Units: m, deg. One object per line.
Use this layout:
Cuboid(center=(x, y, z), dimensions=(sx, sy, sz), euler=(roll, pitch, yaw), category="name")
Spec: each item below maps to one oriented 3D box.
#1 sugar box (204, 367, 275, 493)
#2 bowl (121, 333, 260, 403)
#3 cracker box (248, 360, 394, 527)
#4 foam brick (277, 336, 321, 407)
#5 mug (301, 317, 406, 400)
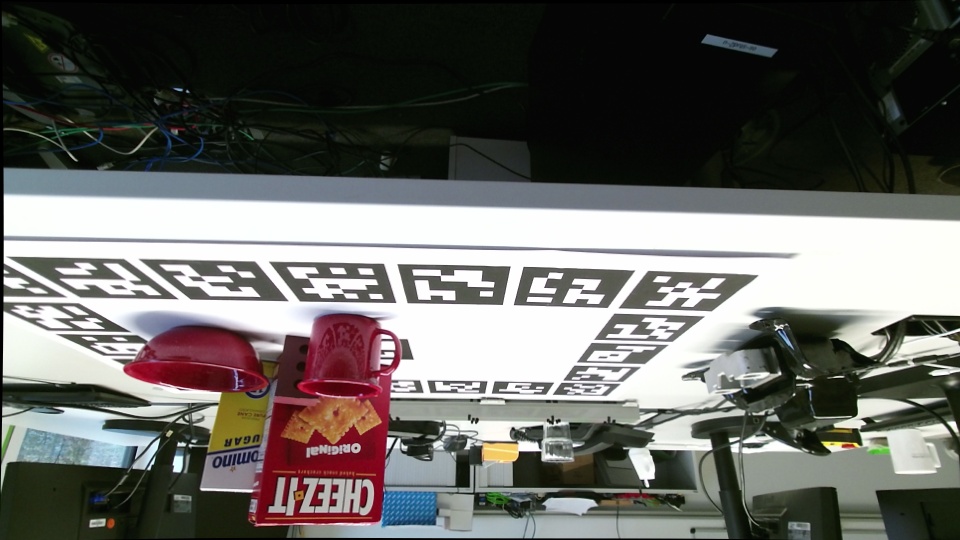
Cuboid(center=(-0.325, 0.228, 0.762), dimensions=(0.093, 0.175, 0.045), euler=(10, 152, -21), category="sugar box")
Cuboid(center=(-0.348, 0.118, 0.652), dimensions=(0.162, 0.055, 0.162), euler=(0, 153, 0), category="bowl")
Cuboid(center=(-0.213, 0.239, 0.745), dimensions=(0.165, 0.212, 0.072), euler=(16, 152, -27), category="cracker box")
Cuboid(center=(-0.226, 0.130, 0.686), dimensions=(0.053, 0.077, 0.051), euler=(7, 154, -16), category="foam brick")
Cuboid(center=(-0.141, 0.099, 0.600), dimensions=(0.117, 0.081, 0.093), euler=(-5, 162, 5), category="mug")
